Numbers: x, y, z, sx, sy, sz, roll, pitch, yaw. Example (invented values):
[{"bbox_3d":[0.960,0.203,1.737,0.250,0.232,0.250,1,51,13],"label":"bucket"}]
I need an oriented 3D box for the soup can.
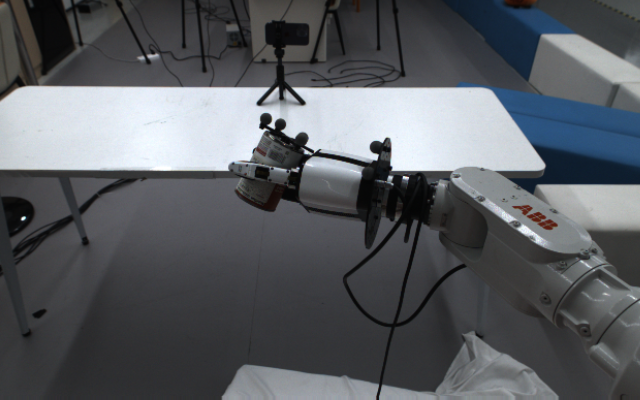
[{"bbox_3d":[-0.075,-0.042,0.716,0.067,0.101,0.067,27,10,-5],"label":"soup can"}]
